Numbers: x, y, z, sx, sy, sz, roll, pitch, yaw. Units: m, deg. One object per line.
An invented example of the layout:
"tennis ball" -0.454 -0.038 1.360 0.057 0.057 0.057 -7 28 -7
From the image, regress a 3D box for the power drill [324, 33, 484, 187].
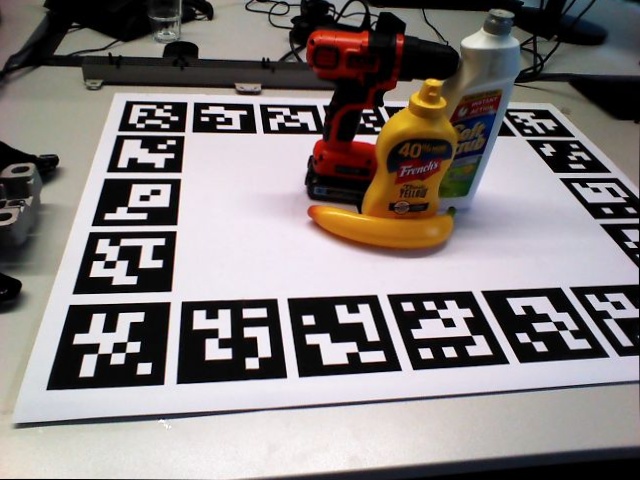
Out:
"power drill" 0.089 -0.156 0.643 0.185 0.188 0.057 9 41 0

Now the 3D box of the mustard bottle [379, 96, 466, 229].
"mustard bottle" 0.134 -0.093 0.610 0.096 0.192 0.058 1 42 -9

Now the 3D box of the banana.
"banana" 0.108 -0.010 0.643 0.197 0.039 0.074 2 43 -3

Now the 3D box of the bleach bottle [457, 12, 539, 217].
"bleach bottle" 0.200 -0.149 0.646 0.103 0.252 0.067 2 37 -6
